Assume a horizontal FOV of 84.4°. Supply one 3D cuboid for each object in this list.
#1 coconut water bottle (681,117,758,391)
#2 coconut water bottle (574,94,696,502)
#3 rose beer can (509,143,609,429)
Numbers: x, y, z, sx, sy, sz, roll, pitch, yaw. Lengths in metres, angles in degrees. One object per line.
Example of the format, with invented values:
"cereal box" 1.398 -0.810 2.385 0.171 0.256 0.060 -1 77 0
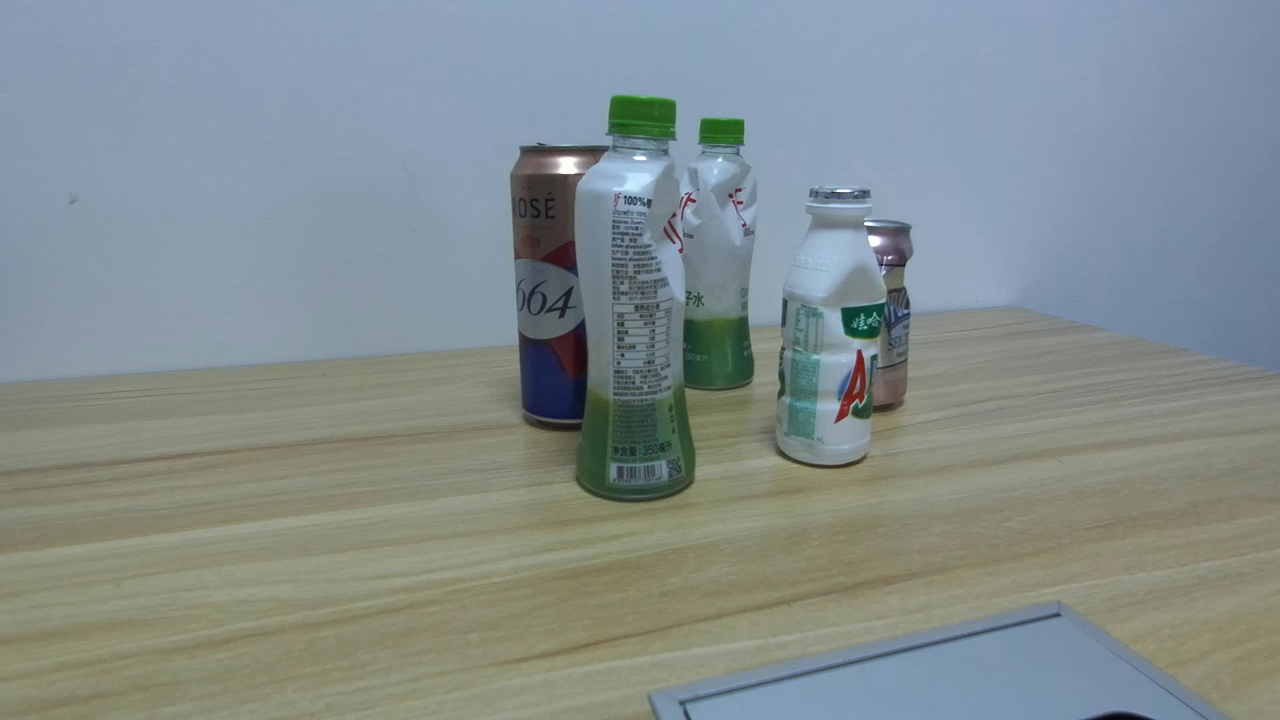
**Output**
"coconut water bottle" 0.056 -0.075 0.508 0.067 0.187 0.067 1 13 0
"coconut water bottle" -0.002 -0.030 0.347 0.069 0.187 0.069 1 13 0
"rose beer can" -0.045 -0.045 0.448 0.068 0.169 0.068 0 16 0
